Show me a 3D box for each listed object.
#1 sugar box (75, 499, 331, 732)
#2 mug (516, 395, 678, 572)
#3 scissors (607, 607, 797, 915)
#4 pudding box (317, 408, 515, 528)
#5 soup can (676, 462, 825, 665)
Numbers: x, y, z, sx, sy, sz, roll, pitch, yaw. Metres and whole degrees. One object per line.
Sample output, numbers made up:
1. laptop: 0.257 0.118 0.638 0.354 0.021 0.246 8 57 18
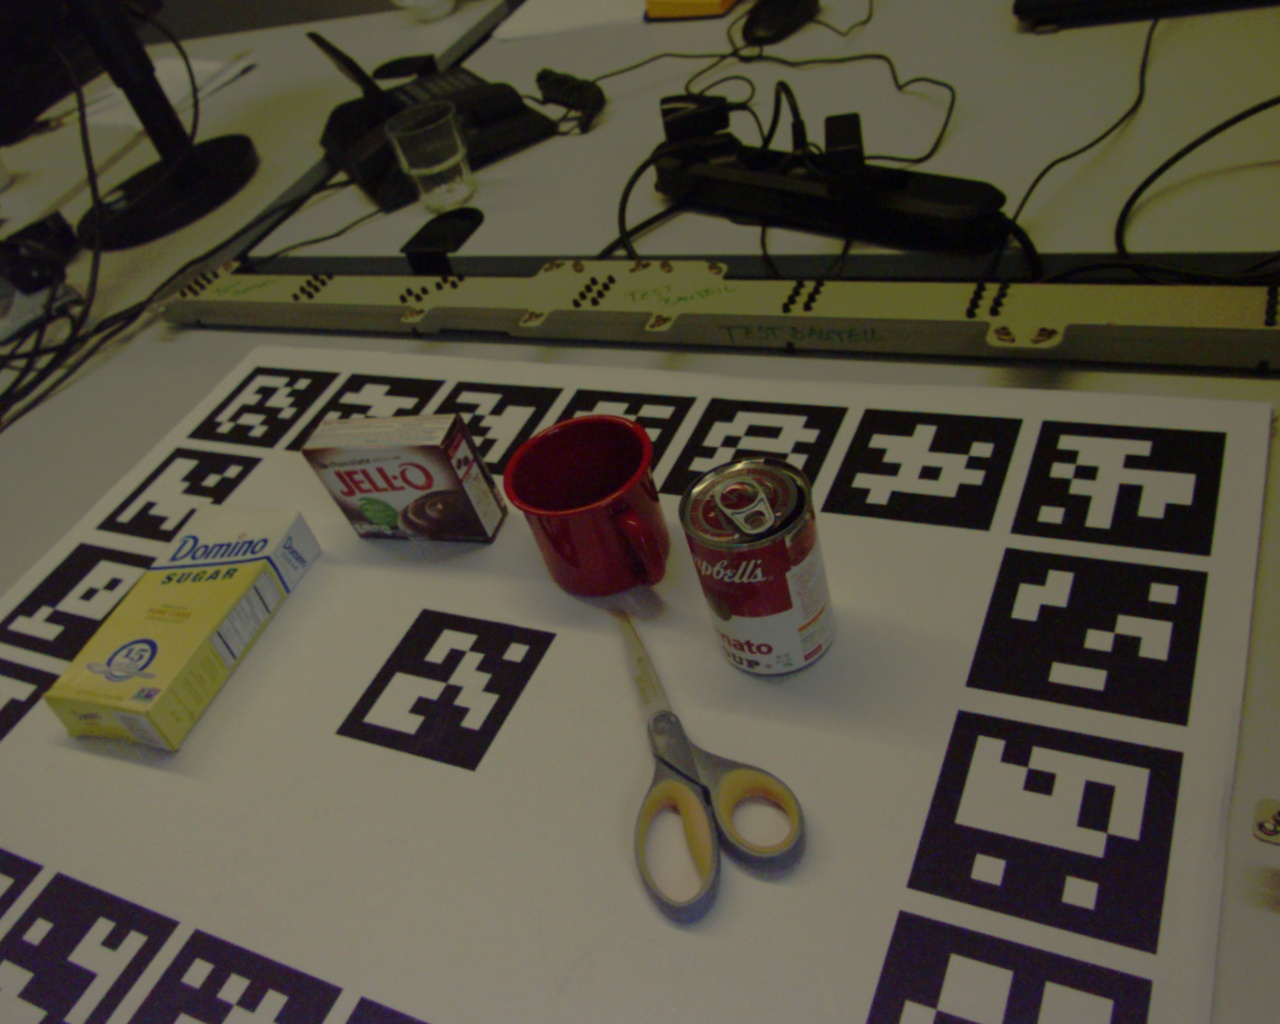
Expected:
1. sugar box: -0.303 0.068 0.804 0.094 0.045 0.176 3 49 27
2. mug: -0.021 -0.009 0.735 0.093 0.081 0.118 -21 40 4
3. scissors: 0.017 0.120 0.632 0.088 0.015 0.205 -31 43 4
4. pudding box: -0.155 -0.030 0.801 0.115 0.089 0.038 0 52 21
5. soup can: 0.065 0.031 0.654 0.068 0.101 0.068 -12 41 10
